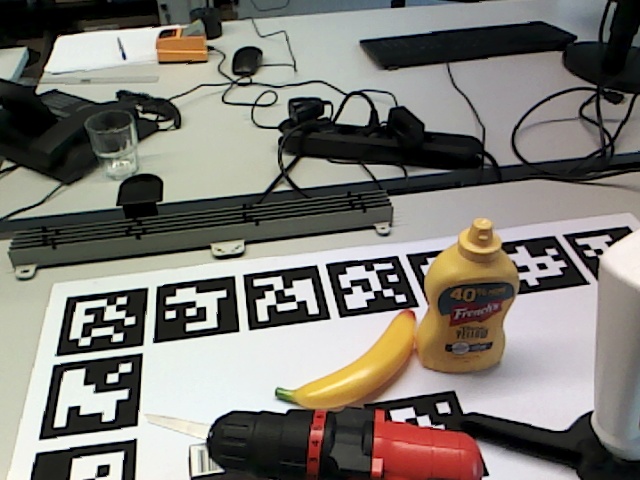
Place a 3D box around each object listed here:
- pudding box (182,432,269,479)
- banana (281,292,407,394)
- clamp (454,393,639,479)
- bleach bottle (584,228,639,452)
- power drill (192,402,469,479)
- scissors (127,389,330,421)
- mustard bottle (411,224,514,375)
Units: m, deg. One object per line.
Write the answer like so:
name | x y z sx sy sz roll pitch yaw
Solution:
pudding box | -0.062 0.211 0.558 0.114 0.090 0.039 -3 32 -4
banana | 0.046 0.117 0.702 0.075 0.039 0.196 13 38 43
clamp | 0.252 0.196 0.585 0.202 0.036 0.166 -10 42 -13
bleach bottle | 0.283 0.101 0.536 0.102 0.250 0.068 -24 40 -16
power drill | 0.009 0.197 0.451 0.185 0.186 0.057 0 32 6
scissors | -0.072 0.157 0.522 0.203 0.016 0.088 13 45 10
mustard bottle | 0.154 0.063 0.662 0.096 0.191 0.058 3 39 4
